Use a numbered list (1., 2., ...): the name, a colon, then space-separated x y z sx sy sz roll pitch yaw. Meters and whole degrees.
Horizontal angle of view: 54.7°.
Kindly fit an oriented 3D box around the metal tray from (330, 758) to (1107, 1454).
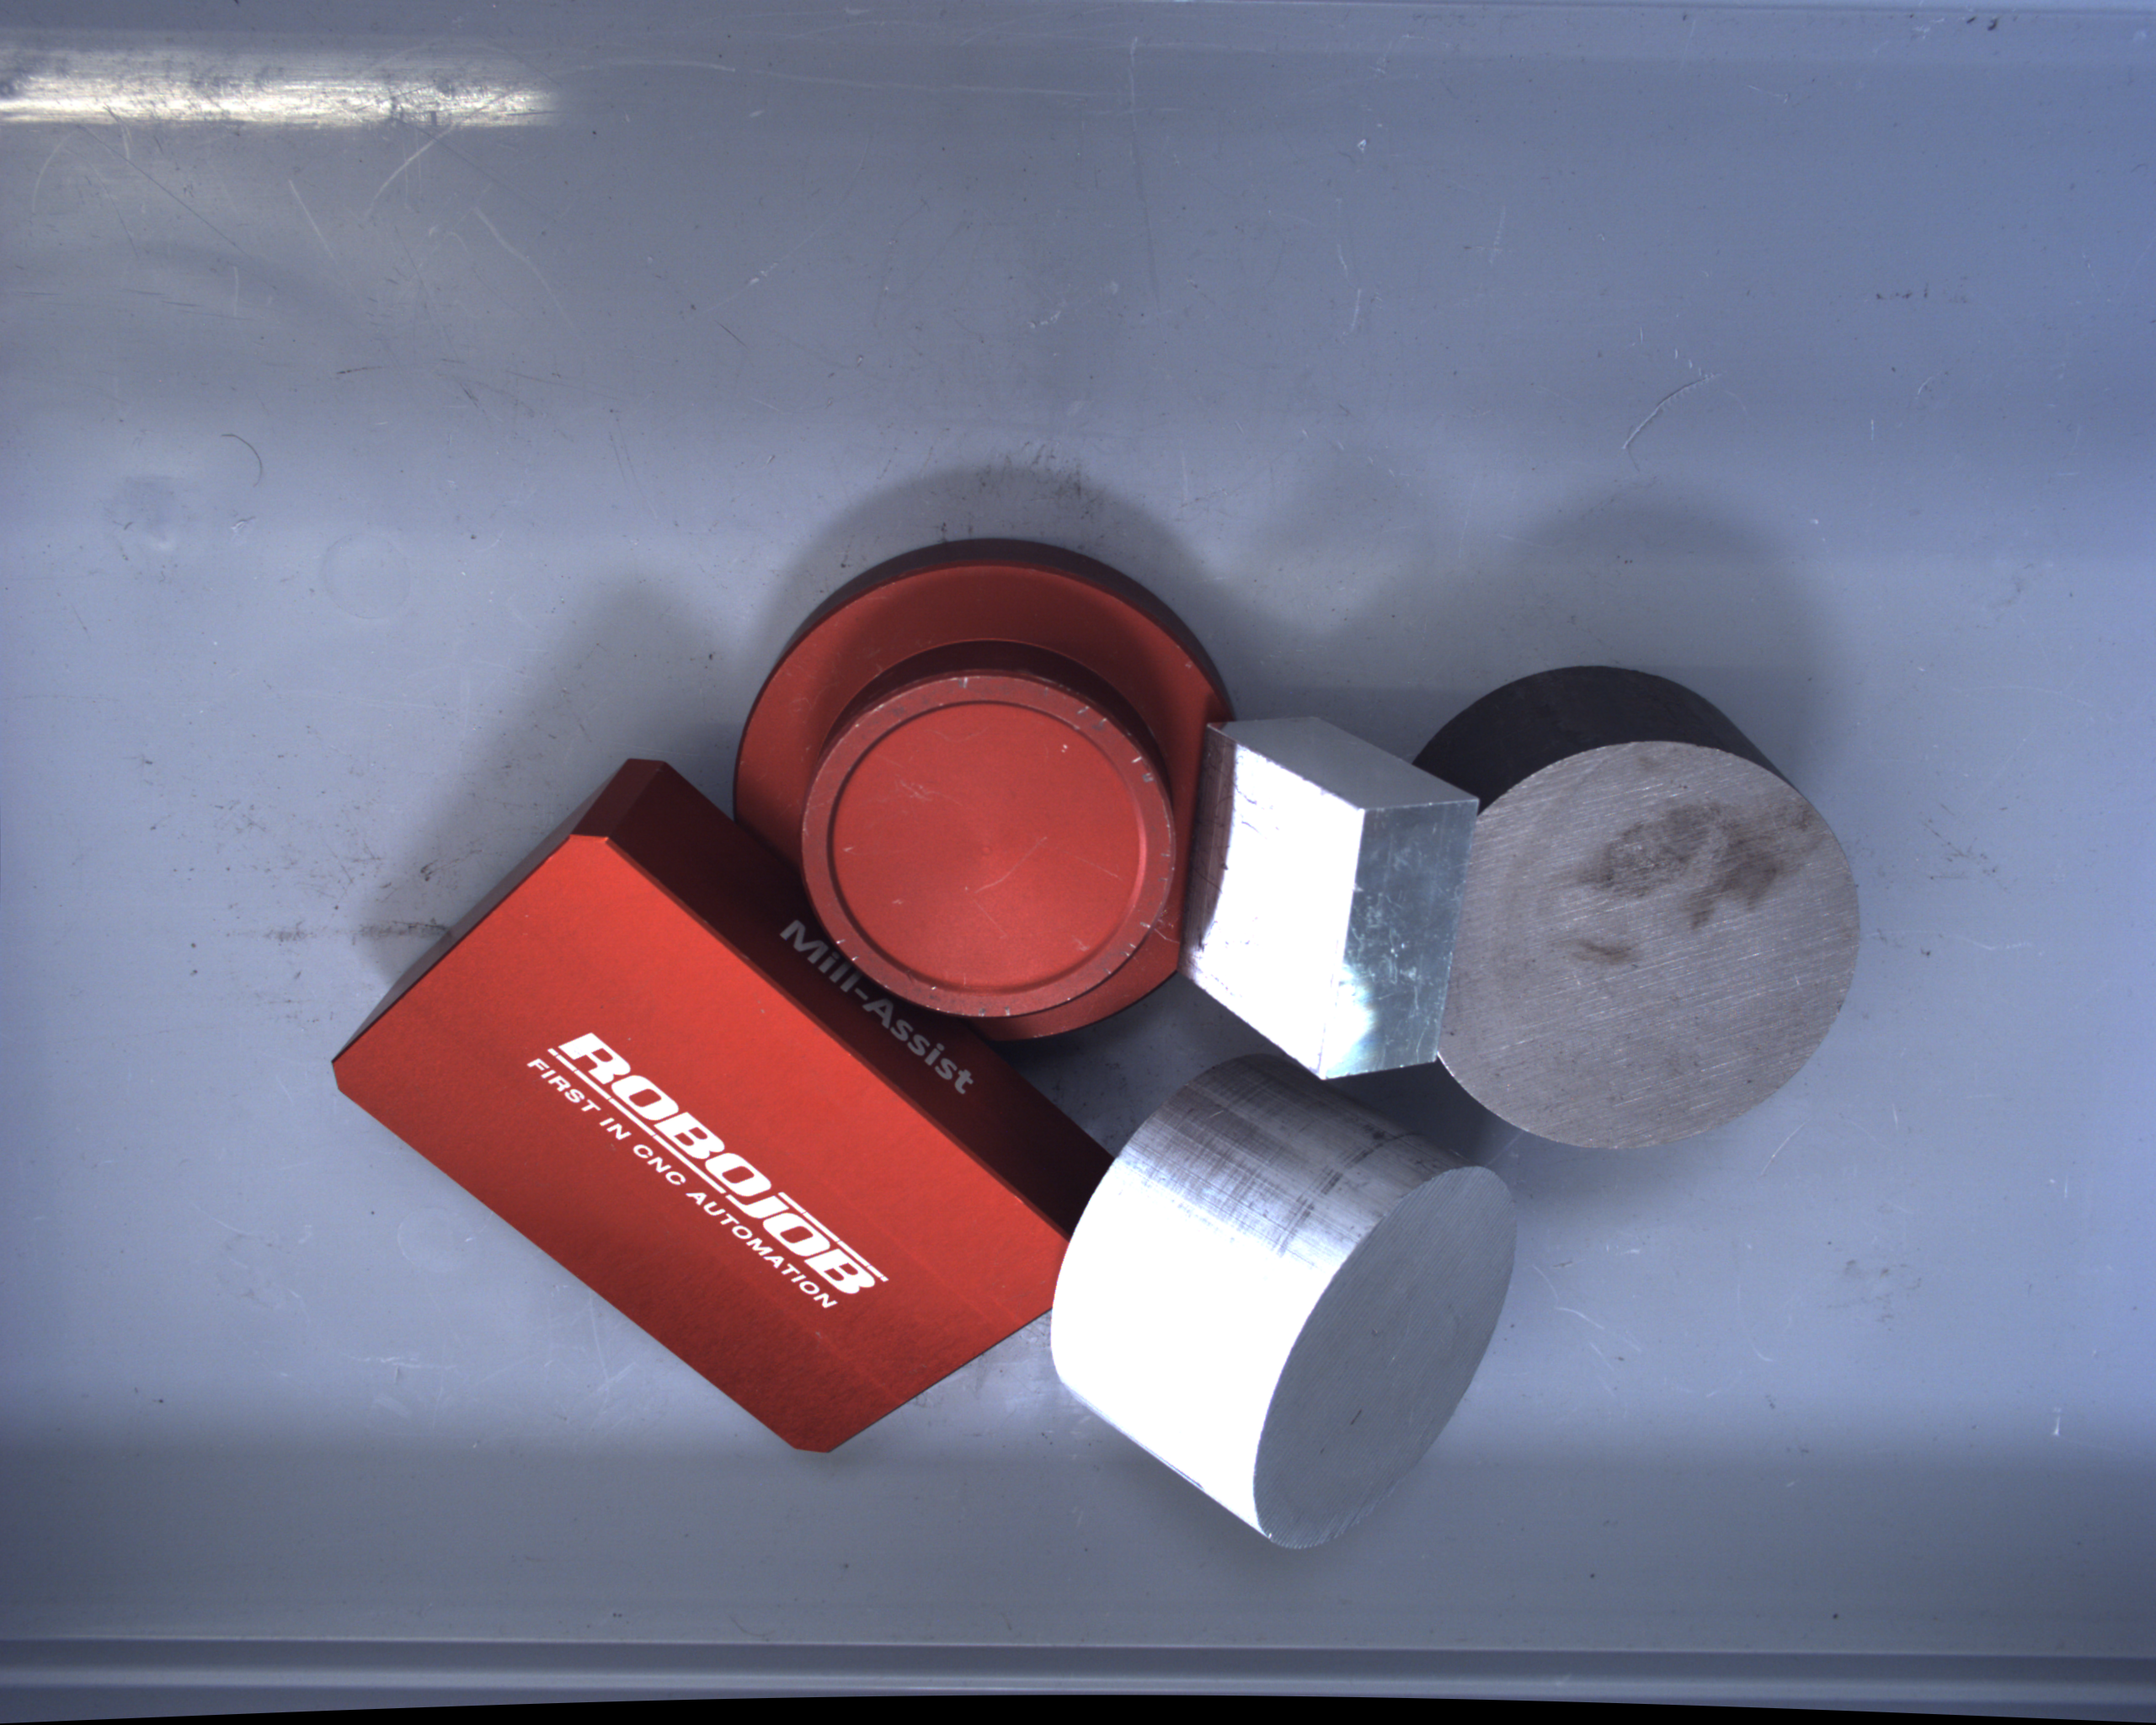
1. metal tray: -0.069 0.052 0.413 0.130 0.030 0.090 43 120 -15

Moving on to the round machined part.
1. round machined part: -0.016 -0.010 0.396 0.099 0.042 0.097 0 110 0

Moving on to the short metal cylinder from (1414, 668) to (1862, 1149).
1. short metal cylinder: 0.101 0.008 0.400 0.081 0.050 0.079 0 110 0

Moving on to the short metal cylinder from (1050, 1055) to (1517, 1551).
1. short metal cylinder: 0.041 0.084 0.405 0.050 0.081 0.079 26 115 37

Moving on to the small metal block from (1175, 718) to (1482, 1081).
1. small metal block: 0.044 0.005 0.379 0.025 0.050 0.050 -5 112 -28
